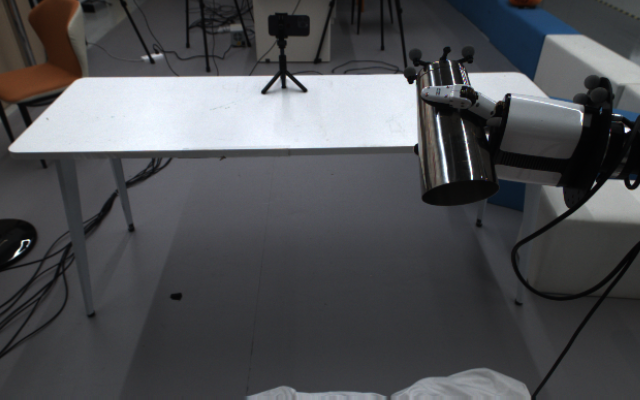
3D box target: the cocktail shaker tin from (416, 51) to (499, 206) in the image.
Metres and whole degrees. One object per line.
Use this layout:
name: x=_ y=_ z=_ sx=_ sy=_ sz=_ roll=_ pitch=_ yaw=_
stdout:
cocktail shaker tin: x=0.166 y=-0.087 z=0.614 sx=0.093 sy=0.093 sz=0.170 roll=-2 pitch=71 yaw=-6
